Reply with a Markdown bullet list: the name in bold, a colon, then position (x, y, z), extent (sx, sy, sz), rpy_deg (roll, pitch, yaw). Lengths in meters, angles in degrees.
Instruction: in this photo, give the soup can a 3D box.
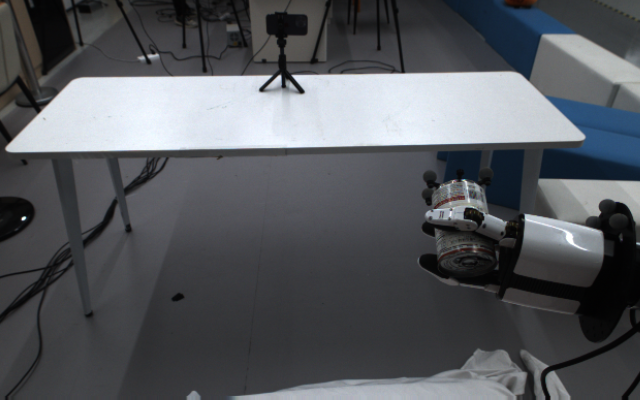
- **soup can**: position (0.175, 0.035, 0.589), extent (0.067, 0.067, 0.101), rpy_deg (3, 57, 1)
